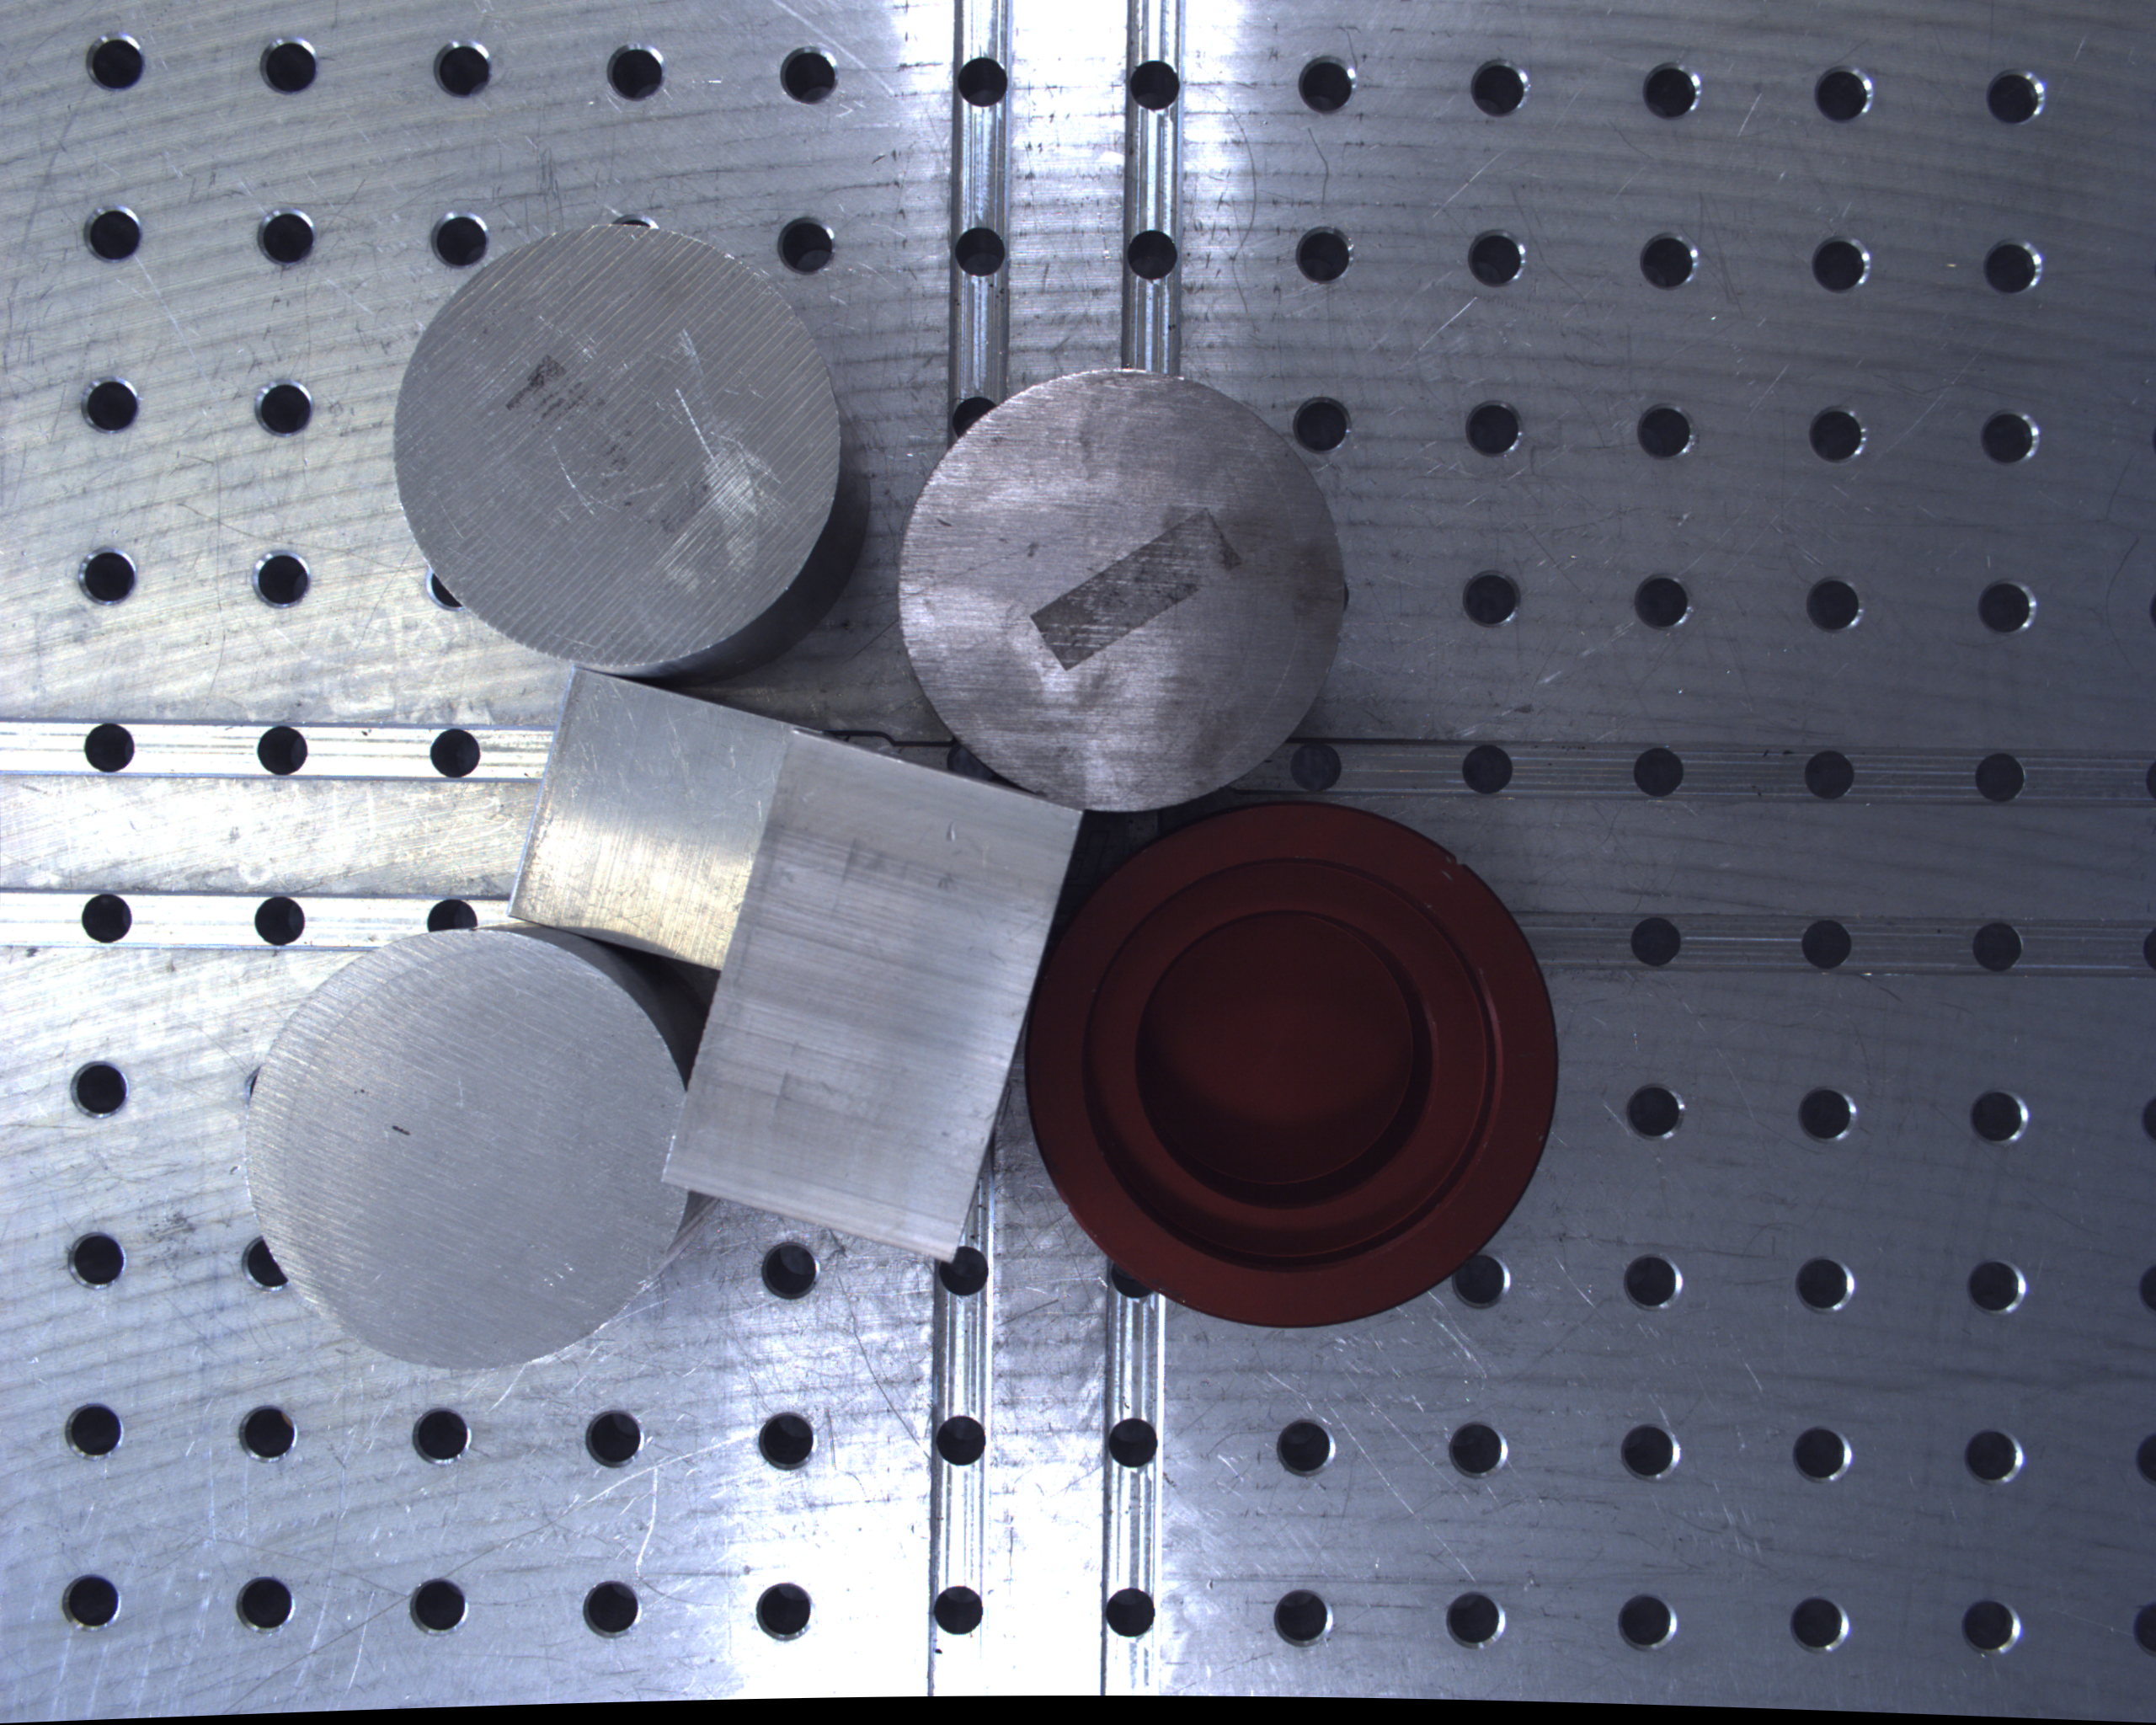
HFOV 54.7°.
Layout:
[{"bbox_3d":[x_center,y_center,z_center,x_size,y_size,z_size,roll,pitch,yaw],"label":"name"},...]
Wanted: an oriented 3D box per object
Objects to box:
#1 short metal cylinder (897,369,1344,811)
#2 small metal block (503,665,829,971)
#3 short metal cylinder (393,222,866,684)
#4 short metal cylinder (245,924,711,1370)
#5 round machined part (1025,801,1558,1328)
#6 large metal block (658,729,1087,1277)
[{"bbox_3d":[0.008,-0.049,0.400,0.081,0.050,0.080,0,90,0],"label":"short metal cylinder"},{"bbox_3d":[-0.079,-0.008,0.412,0.050,0.025,0.050,15,90,0],"label":"small metal block"},{"bbox_3d":[-0.083,-0.075,0.400,0.081,0.050,0.080,0,90,0],"label":"short metal cylinder"},{"bbox_3d":[-0.109,0.051,0.400,0.081,0.050,0.080,0,90,0],"label":"short metal cylinder"},{"bbox_3d":[0.039,0.037,0.405,0.099,0.042,0.097,0,90,0],"label":"round machined part"},{"bbox_3d":[-0.034,0.023,0.382,0.050,0.080,0.080,16,90,0],"label":"large metal block"}]
